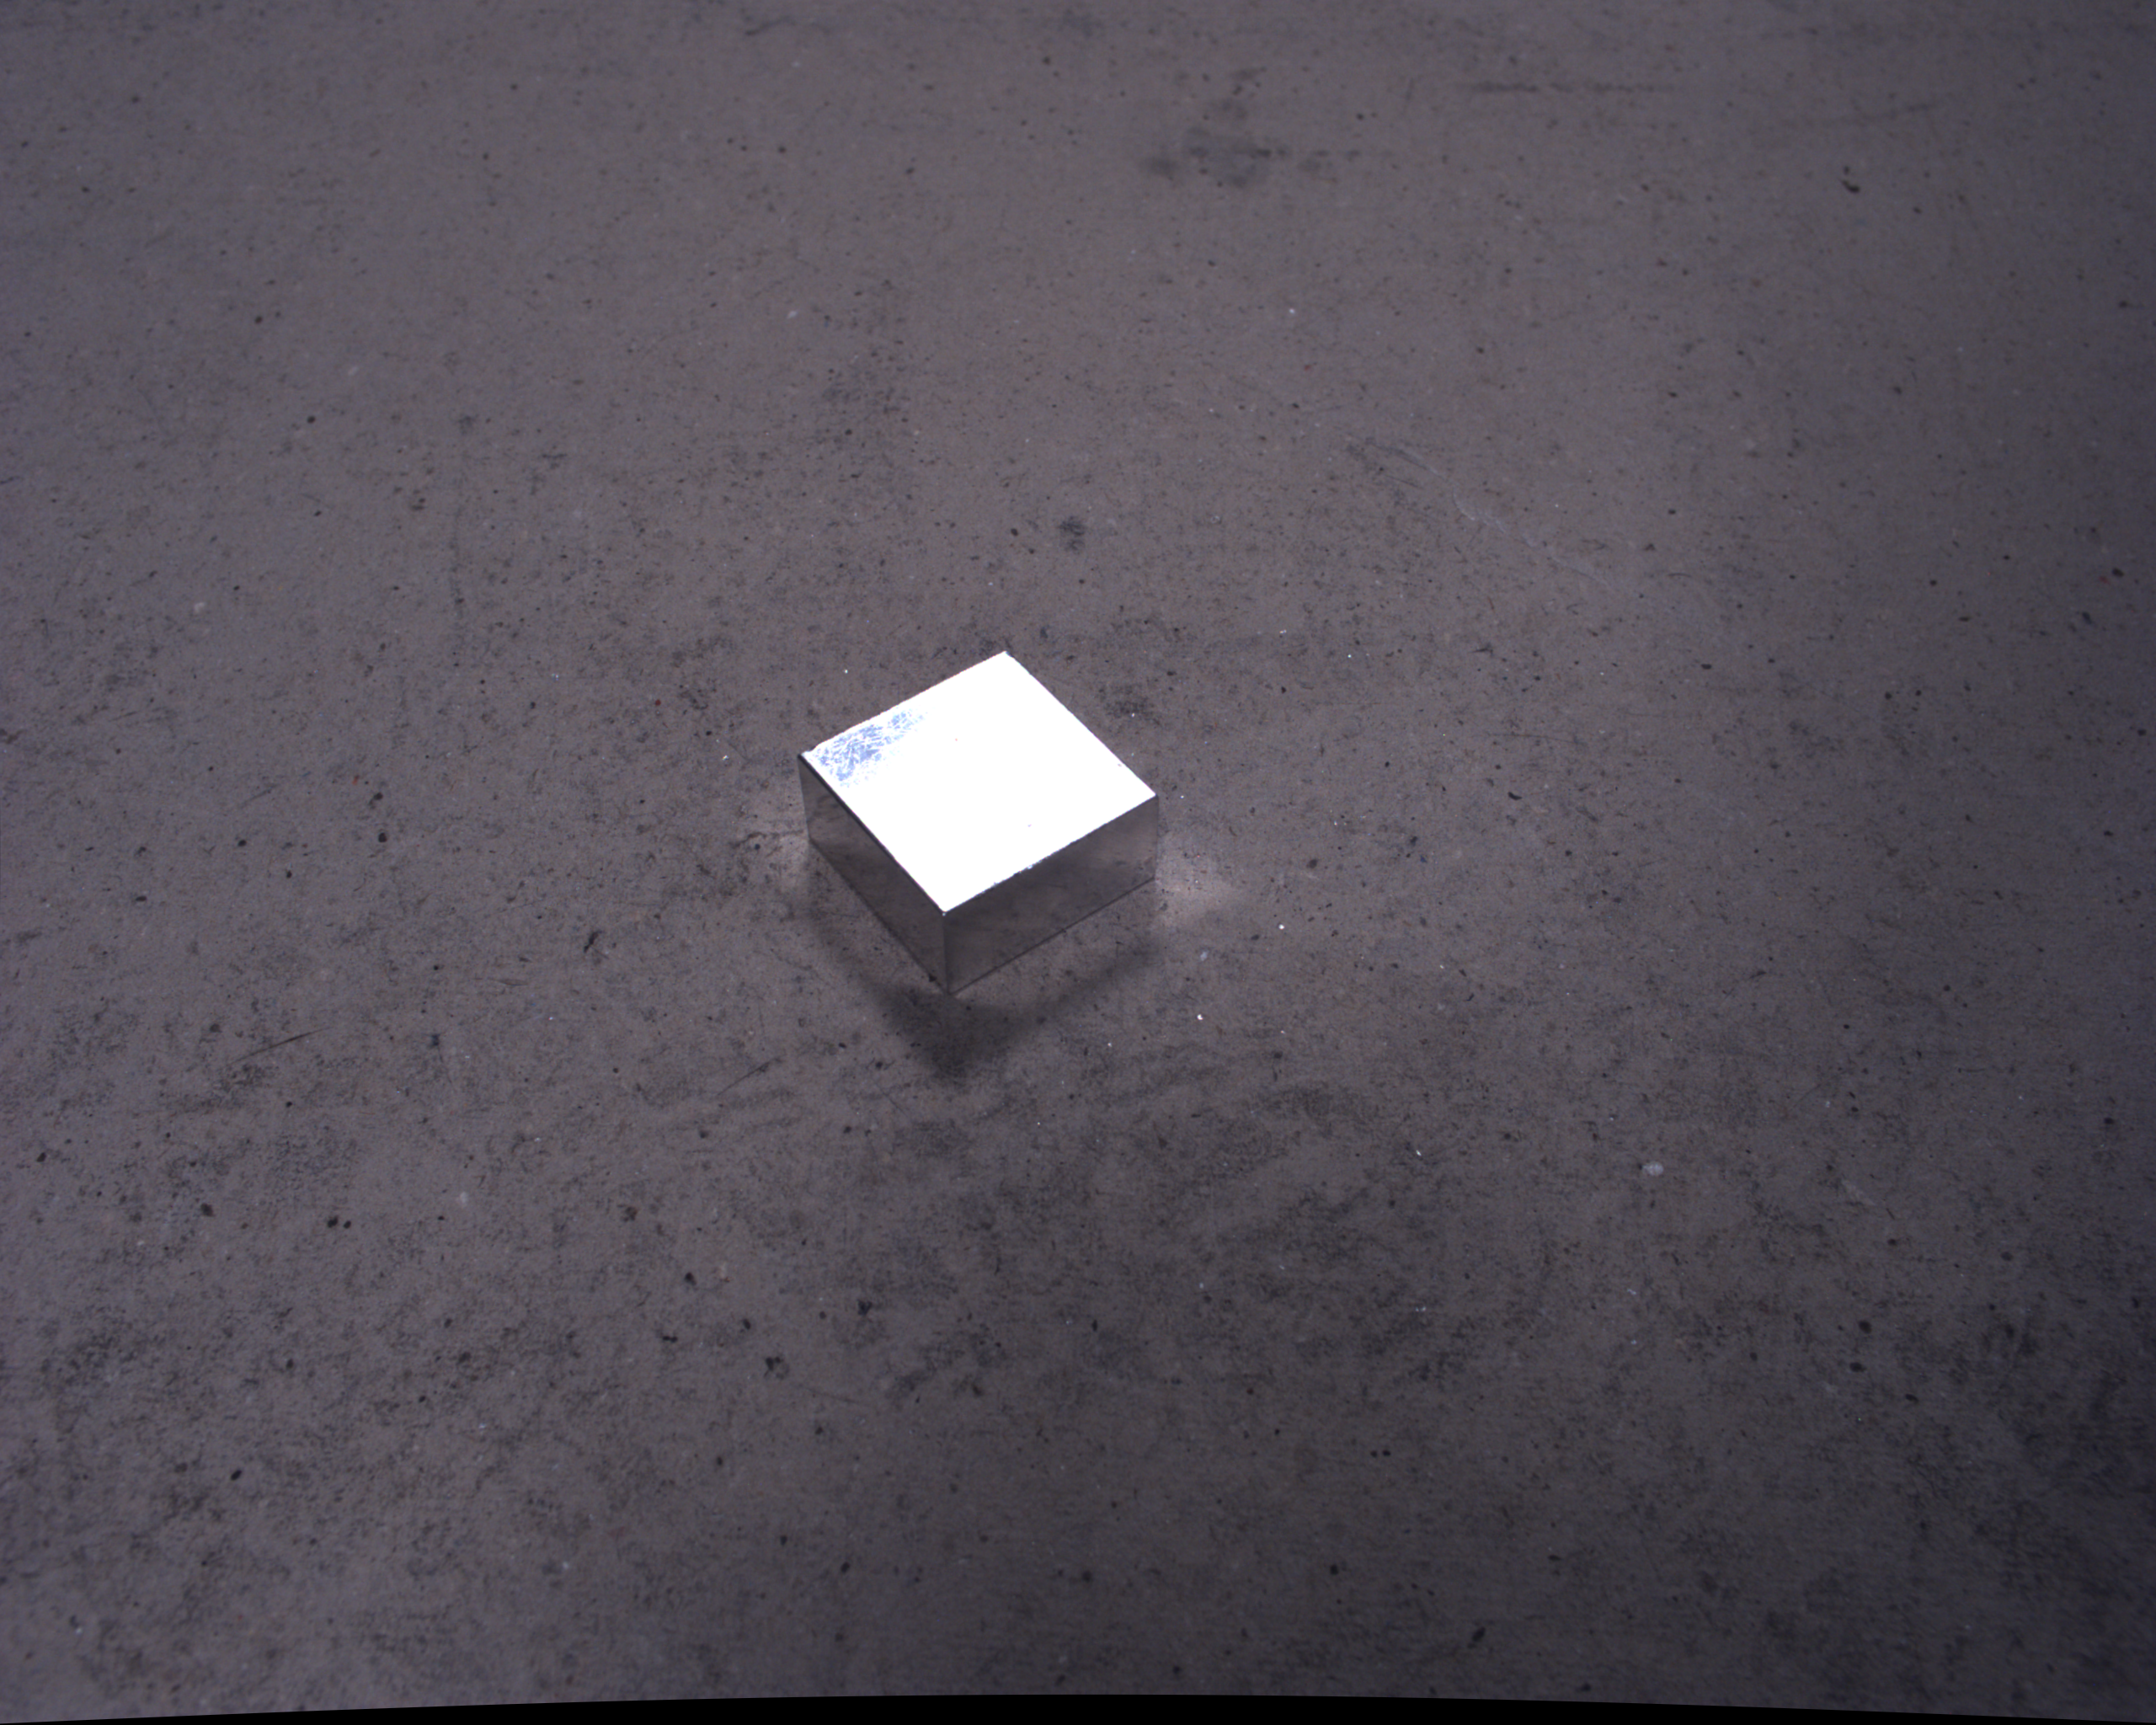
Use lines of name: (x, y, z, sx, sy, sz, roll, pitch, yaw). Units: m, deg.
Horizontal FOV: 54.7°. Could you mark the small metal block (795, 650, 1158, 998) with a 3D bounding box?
small metal block: (-0.020, -0.009, 0.412, 0.050, 0.025, 0.050, -30, 56, -23)
